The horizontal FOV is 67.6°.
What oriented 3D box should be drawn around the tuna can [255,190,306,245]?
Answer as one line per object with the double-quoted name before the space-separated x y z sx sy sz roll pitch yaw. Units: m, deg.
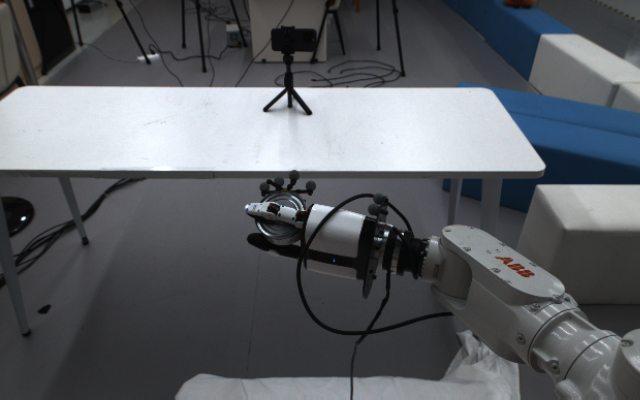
"tuna can" -0.059 0.030 0.776 0.085 0.034 0.085 -6 61 10
